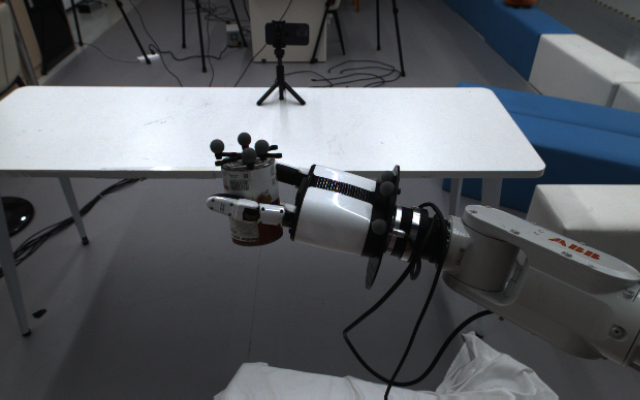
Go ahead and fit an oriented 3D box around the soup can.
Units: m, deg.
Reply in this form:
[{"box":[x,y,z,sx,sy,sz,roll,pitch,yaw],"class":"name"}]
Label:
[{"box":[-0.082,-0.001,0.604,0.067,0.101,0.067,-4,21,2],"class":"soup can"}]
